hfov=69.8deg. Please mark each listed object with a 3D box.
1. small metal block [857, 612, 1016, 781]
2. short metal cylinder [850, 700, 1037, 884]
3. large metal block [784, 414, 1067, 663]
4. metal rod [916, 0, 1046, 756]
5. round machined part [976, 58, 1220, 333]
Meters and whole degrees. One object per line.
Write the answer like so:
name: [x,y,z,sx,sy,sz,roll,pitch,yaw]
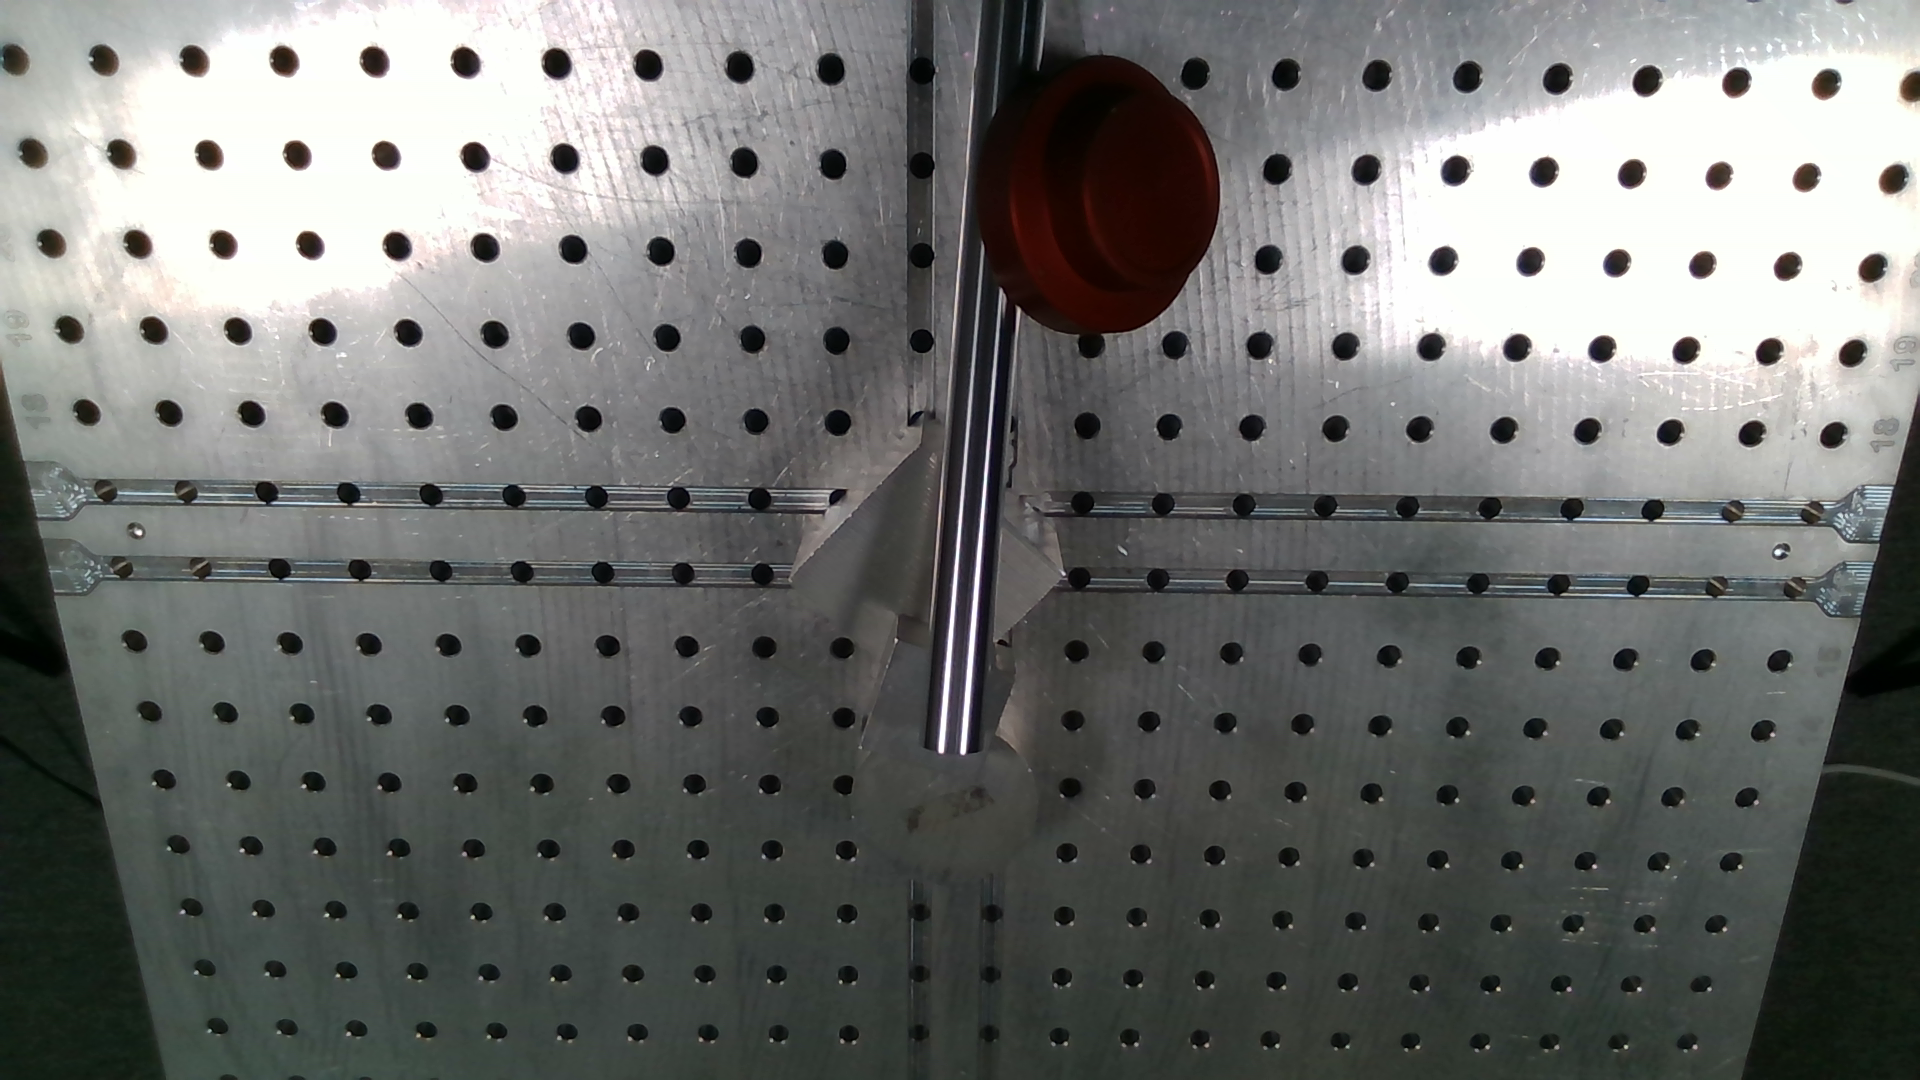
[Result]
small metal block: [-0.010,0.063,0.555,0.050,0.025,0.050,17,109,-6]
short metal cylinder: [-0.007,0.104,0.612,0.080,0.050,0.080,0,110,0]
large metal block: [-0.014,0.007,0.574,0.080,0.050,0.080,42,105,-14]
metal rod: [0.009,-0.070,0.515,0.025,0.025,0.300,5,93,-2]
round machined part: [0.057,-0.125,0.503,0.098,0.042,0.098,-5,98,-37]
